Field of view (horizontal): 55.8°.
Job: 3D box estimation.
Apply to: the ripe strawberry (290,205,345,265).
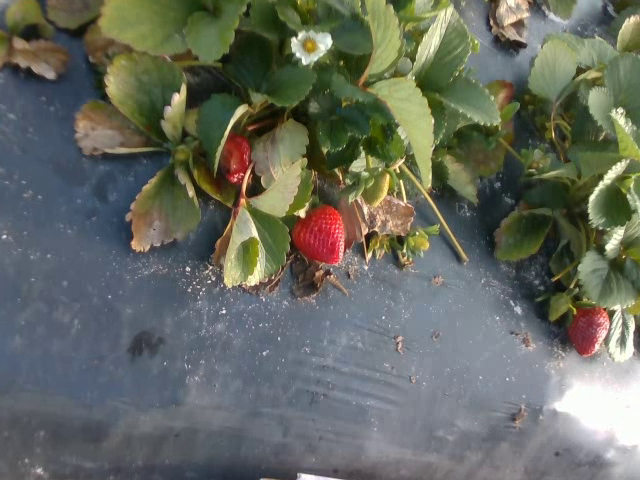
[{"bbox_3d":[0.000,0.000,0.298,0.031,0.030,0.026,-23,-15,-18],"label":"ripe strawberry"}]
